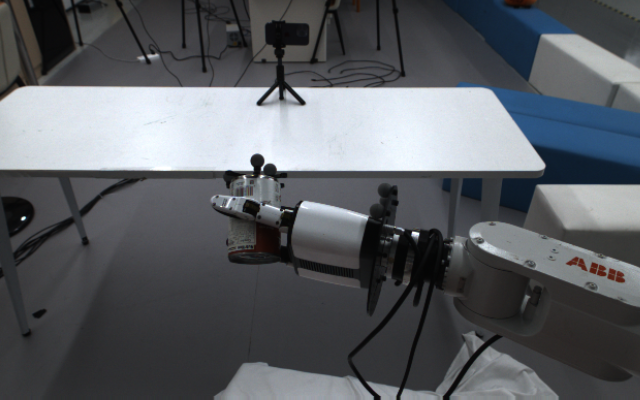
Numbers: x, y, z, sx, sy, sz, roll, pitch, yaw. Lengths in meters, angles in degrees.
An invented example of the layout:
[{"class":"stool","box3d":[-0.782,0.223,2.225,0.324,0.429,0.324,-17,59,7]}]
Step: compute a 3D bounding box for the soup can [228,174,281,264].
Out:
[{"class":"soup can","box3d":[-0.080,0.025,0.615,0.067,0.067,0.101,-2,71,-6]}]
